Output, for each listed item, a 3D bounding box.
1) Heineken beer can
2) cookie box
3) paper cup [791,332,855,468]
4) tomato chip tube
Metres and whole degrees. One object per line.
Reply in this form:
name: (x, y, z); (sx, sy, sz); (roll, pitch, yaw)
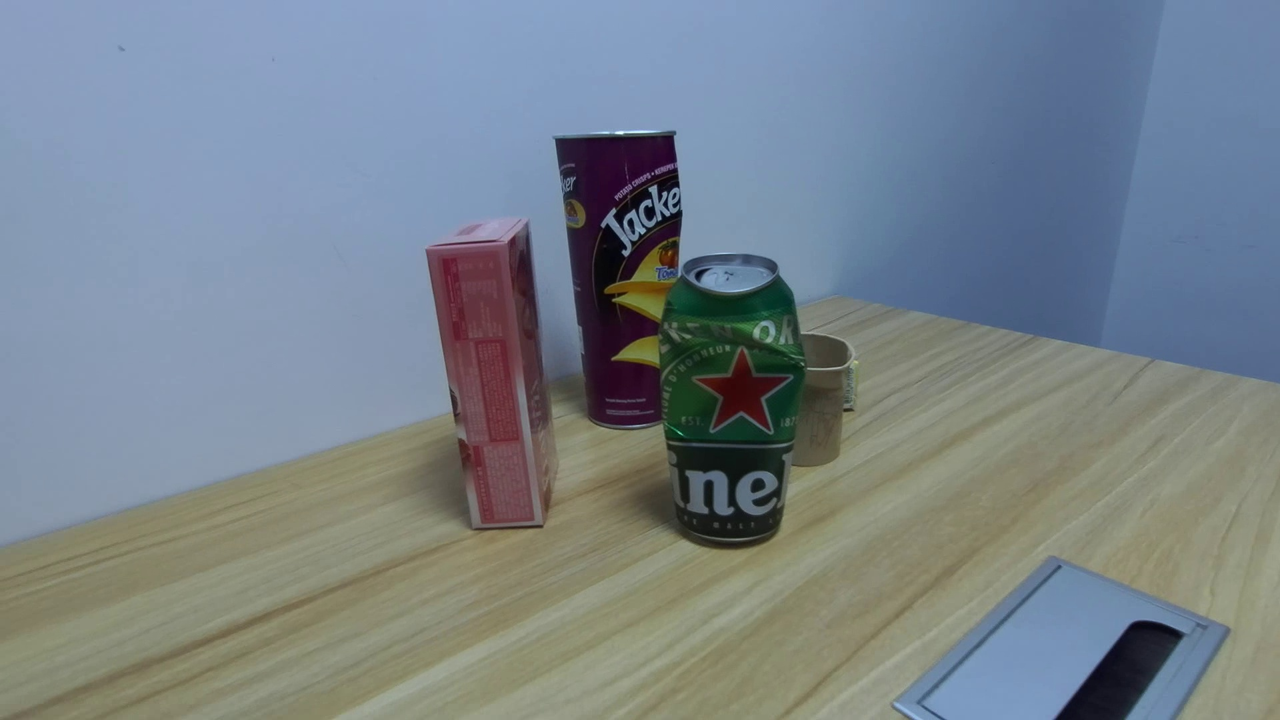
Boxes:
Heineken beer can: (0.053, 0.027, 0.417); (0.069, 0.168, 0.068); (-20, 28, -35)
cookie box: (-0.091, 0.008, 0.467); (0.048, 0.185, 0.096); (-4, 20, 0)
paper cup: (0.123, 0.029, 0.521); (0.066, 0.084, 0.072); (6, 23, 22)
tomato chip tube: (-0.013, -0.066, 0.586); (0.076, 0.235, 0.077); (-17, 23, -34)
